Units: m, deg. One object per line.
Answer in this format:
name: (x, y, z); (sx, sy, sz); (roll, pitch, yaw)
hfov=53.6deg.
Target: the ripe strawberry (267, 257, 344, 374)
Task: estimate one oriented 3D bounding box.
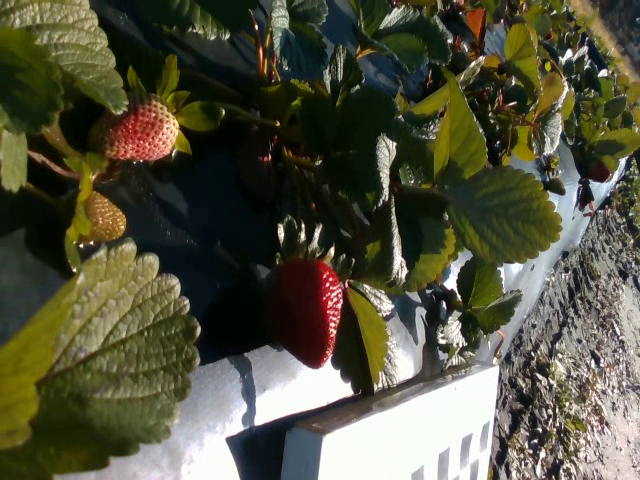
ripe strawberry: (-0.008, 0.034, 0.280); (0.058, 0.066, 0.061); (-33, 43, -16)
